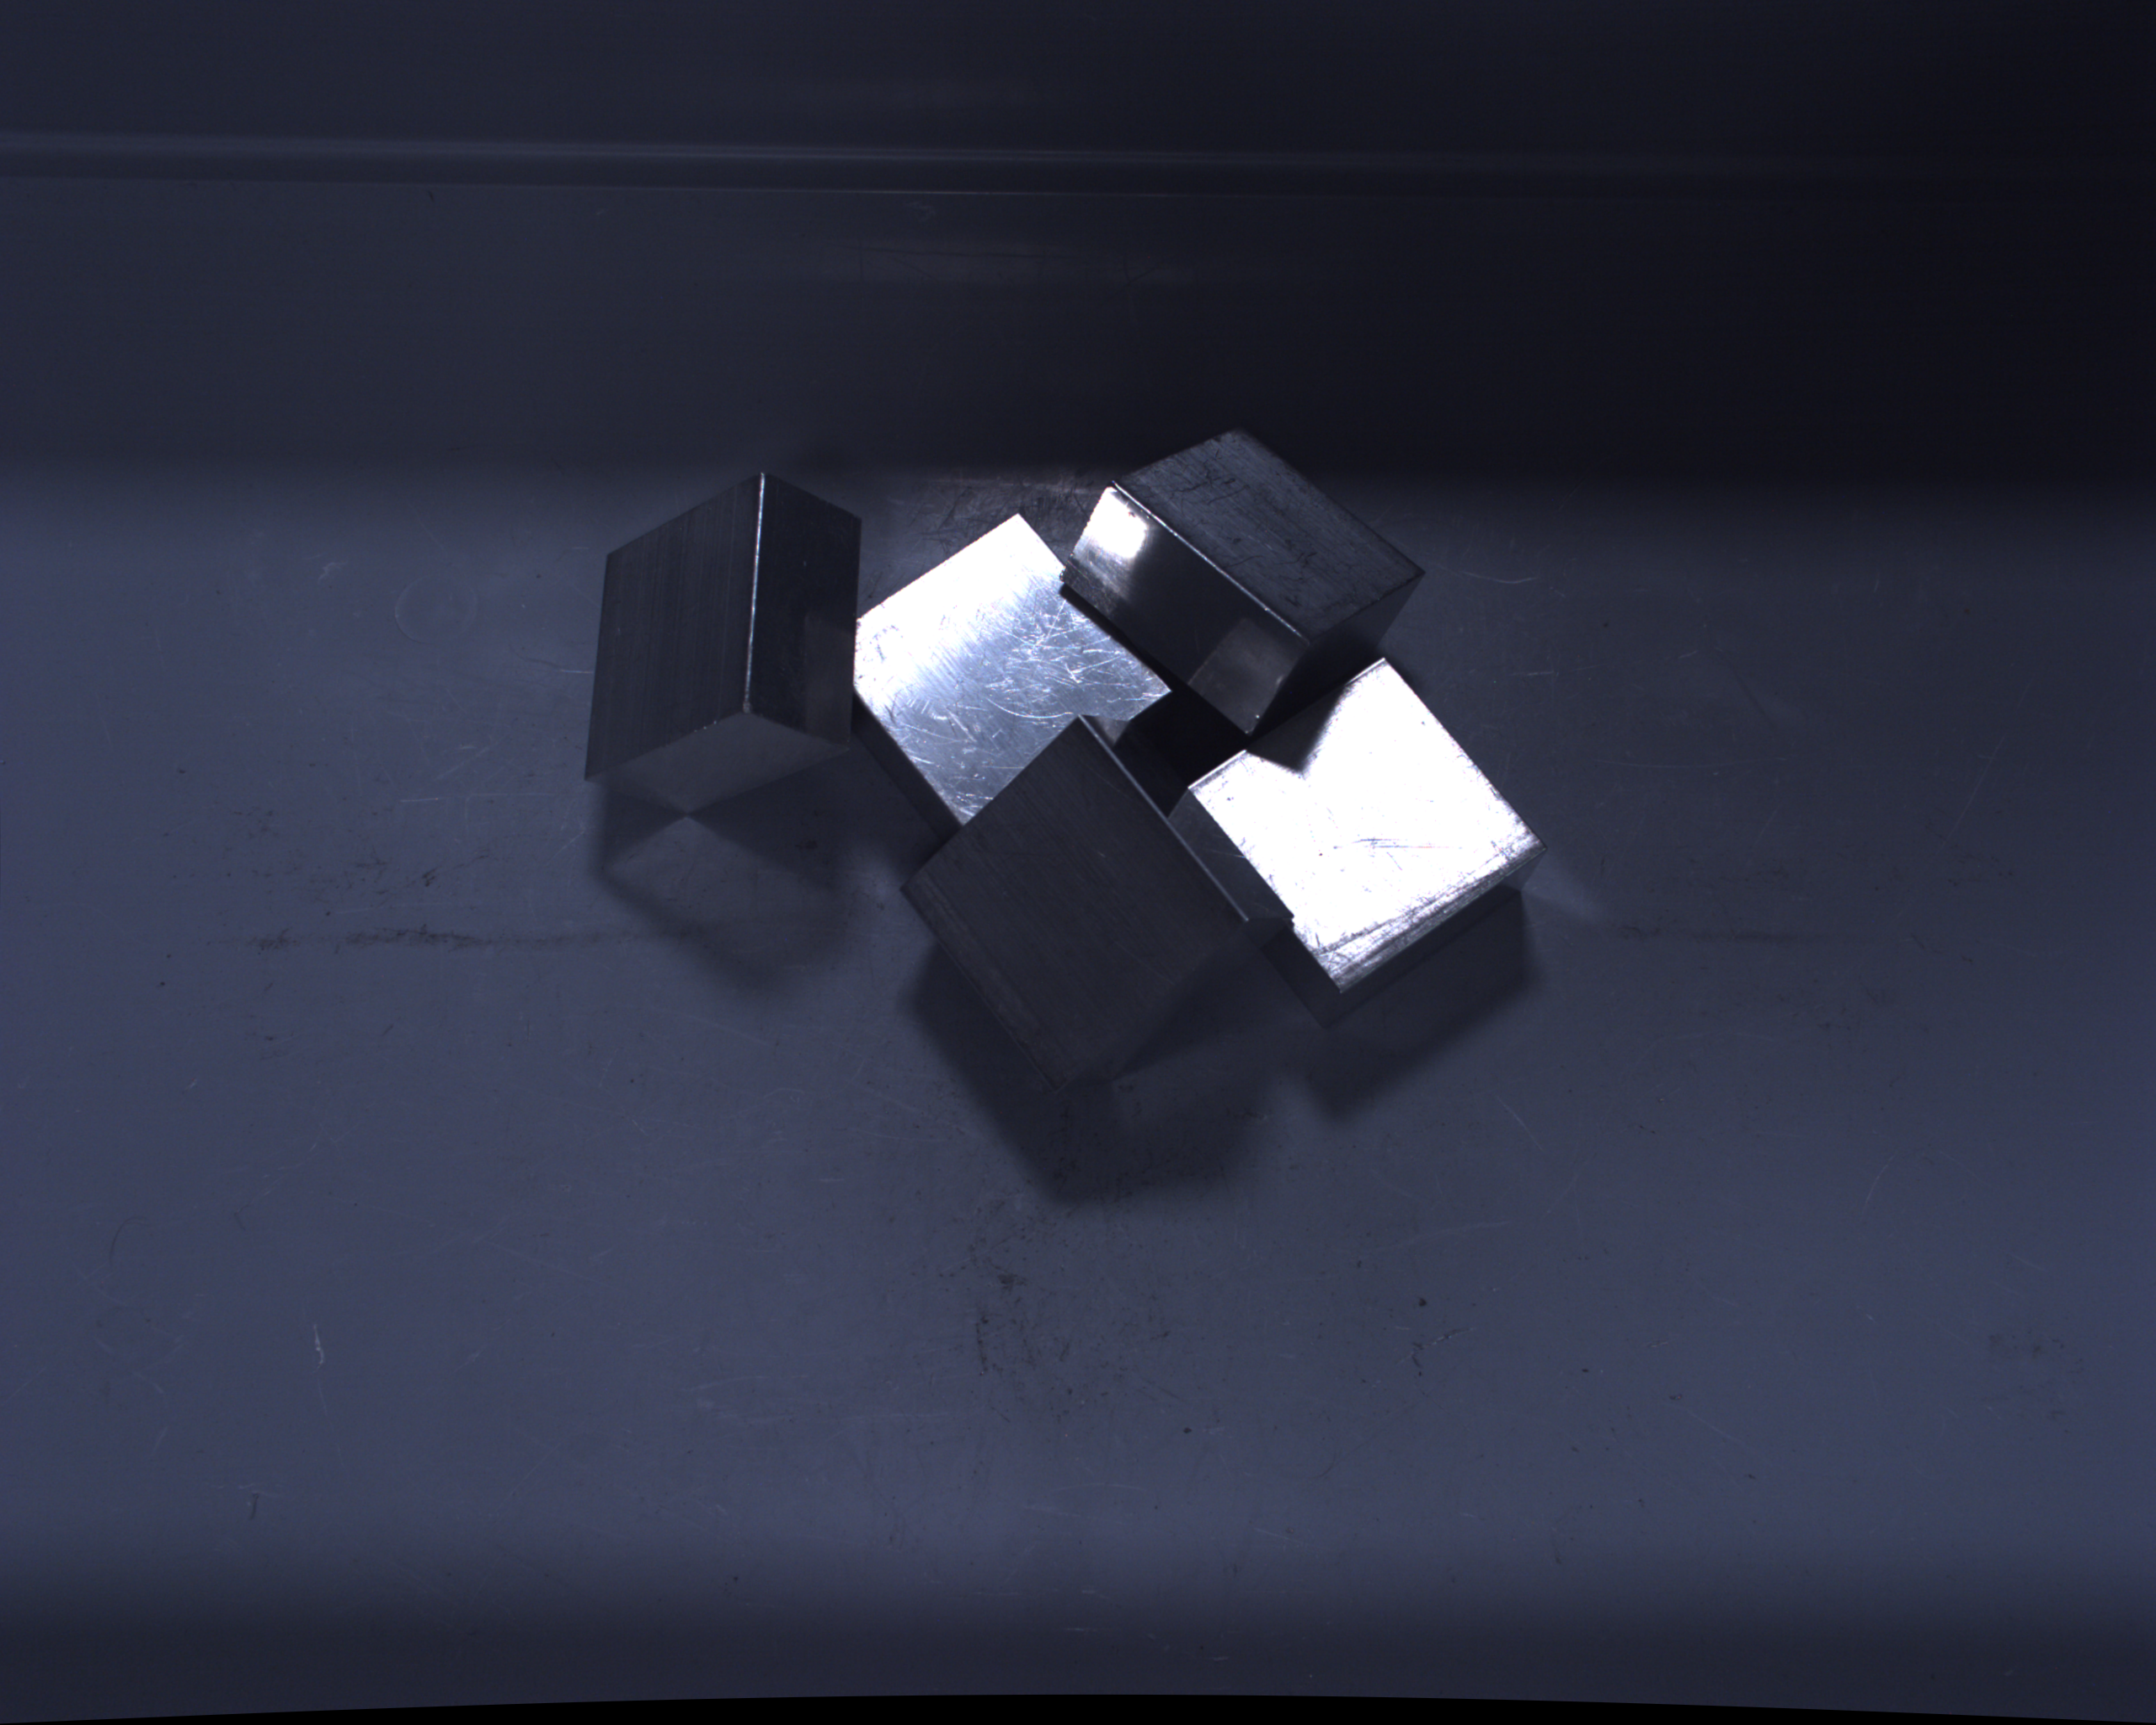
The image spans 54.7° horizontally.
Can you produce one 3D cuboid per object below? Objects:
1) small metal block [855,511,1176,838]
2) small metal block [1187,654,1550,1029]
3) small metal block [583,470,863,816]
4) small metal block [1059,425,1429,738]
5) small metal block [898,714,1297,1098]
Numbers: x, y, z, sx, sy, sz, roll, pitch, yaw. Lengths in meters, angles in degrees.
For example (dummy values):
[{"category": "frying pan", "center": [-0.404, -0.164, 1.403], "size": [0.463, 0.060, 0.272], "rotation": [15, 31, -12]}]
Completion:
[{"category": "small metal block", "center": [-0.016, -0.034, 0.420], "size": [0.050, 0.025, 0.050], "rotation": [-36, 74, -13]}, {"category": "small metal block", "center": [0.055, -0.004, 0.410], "size": [0.050, 0.025, 0.050], "rotation": [-34, 74, -12]}, {"category": "small metal block", "center": [-0.069, -0.042, 0.408], "size": [0.050, 0.025, 0.050], "rotation": [-17, 63, 40]}, {"category": "small metal block", "center": [0.034, -0.057, 0.417], "size": [0.050, 0.025, 0.050], "rotation": [41, 40, 13]}, {"category": "small metal block", "center": [0.003, 0.008, 0.393], "size": [0.050, 0.025, 0.050], "rotation": [-44, 73, 18]}]
